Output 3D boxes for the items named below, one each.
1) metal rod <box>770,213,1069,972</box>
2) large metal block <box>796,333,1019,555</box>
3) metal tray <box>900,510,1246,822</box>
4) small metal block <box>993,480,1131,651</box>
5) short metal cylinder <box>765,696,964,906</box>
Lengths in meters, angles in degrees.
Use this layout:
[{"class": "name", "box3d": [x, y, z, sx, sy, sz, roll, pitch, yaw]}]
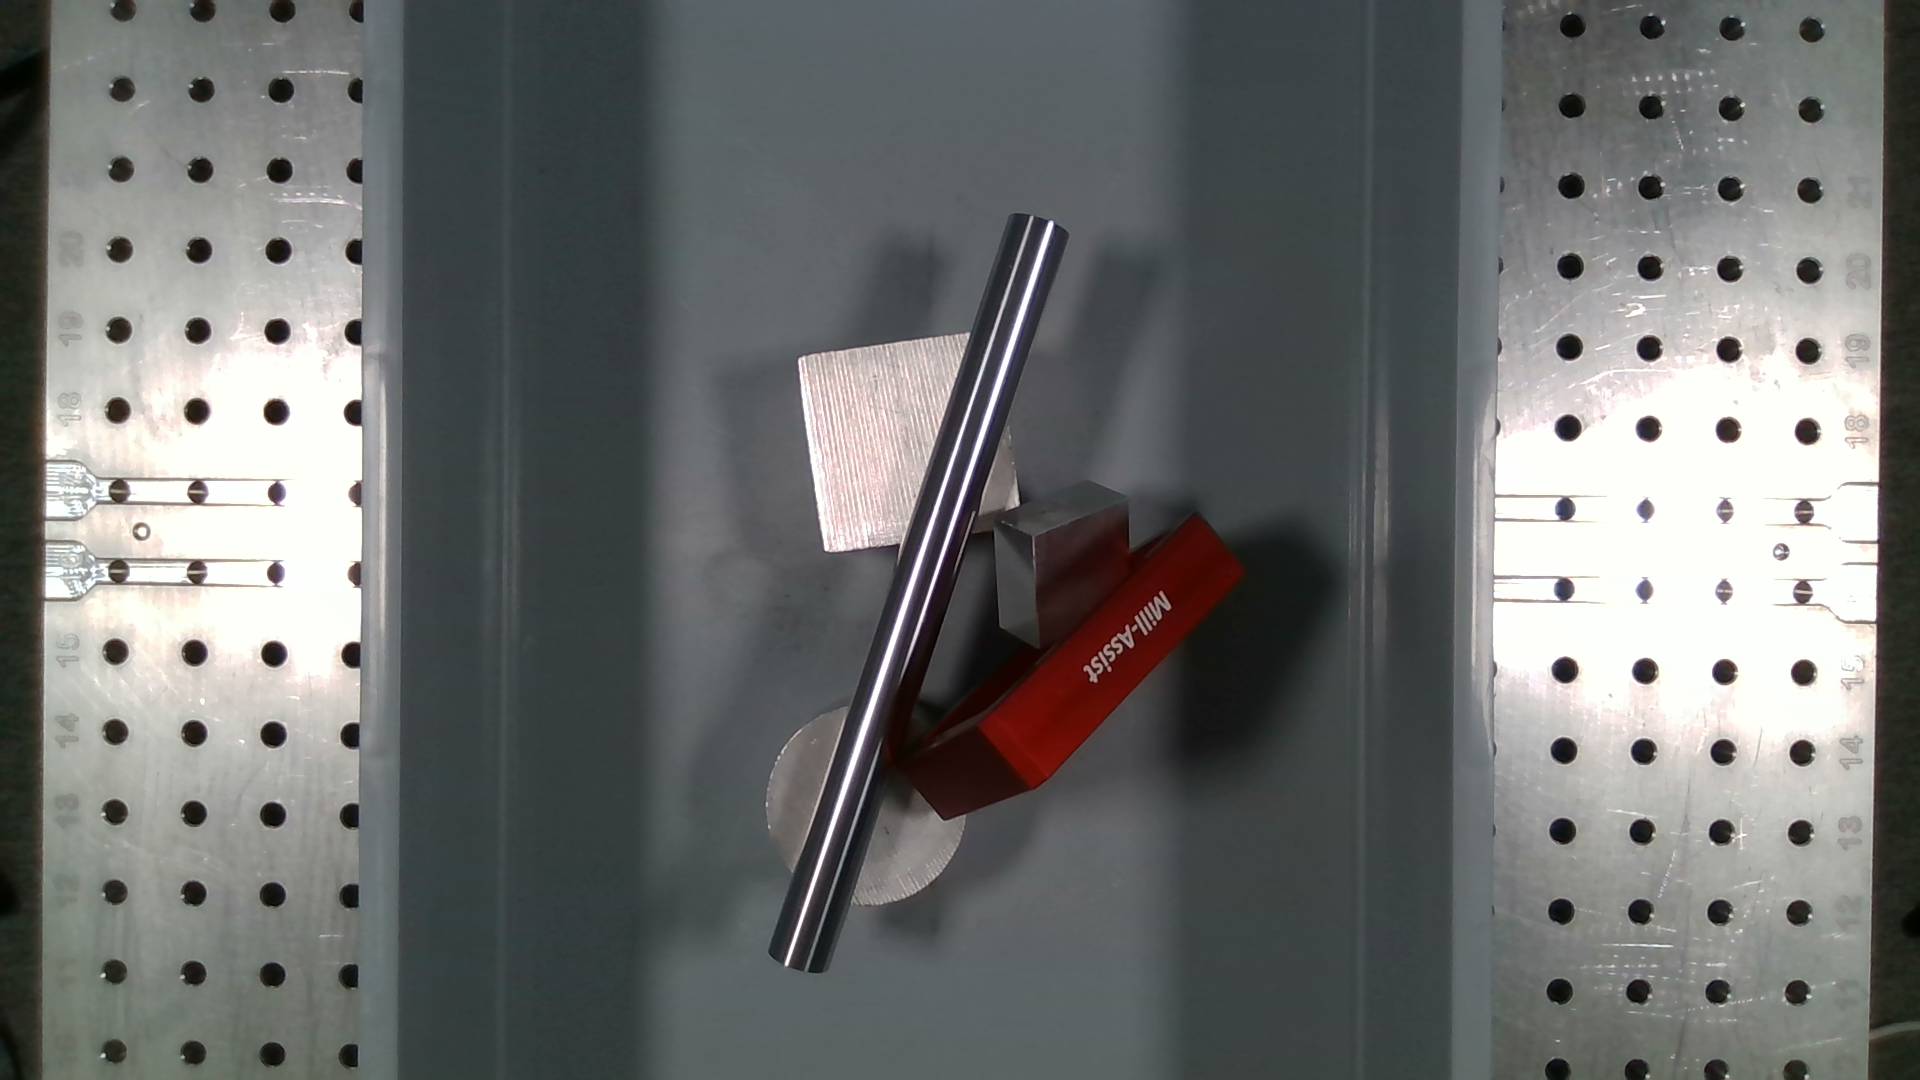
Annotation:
[{"class": "metal rod", "box3d": [-0.016, 0.021, 0.535, 0.025, 0.025, 0.300, 18, 90, 0]}, {"class": "large metal block", "box3d": [-0.020, -0.039, 0.573, 0.080, 0.050, 0.080, -8, 90, 0]}, {"class": "metal tray", "box3d": [0.042, 0.049, 0.529, 0.130, 0.090, 0.030, -41, 91, -30]}, {"class": "small metal block", "box3d": [0.042, 0.009, 0.552, 0.050, 0.025, 0.050, -22, 122, -32]}, {"class": "short metal cylinder", "box3d": [-0.038, 0.106, 0.574, 0.080, 0.050, 0.080, 0, 90, 0]}]
